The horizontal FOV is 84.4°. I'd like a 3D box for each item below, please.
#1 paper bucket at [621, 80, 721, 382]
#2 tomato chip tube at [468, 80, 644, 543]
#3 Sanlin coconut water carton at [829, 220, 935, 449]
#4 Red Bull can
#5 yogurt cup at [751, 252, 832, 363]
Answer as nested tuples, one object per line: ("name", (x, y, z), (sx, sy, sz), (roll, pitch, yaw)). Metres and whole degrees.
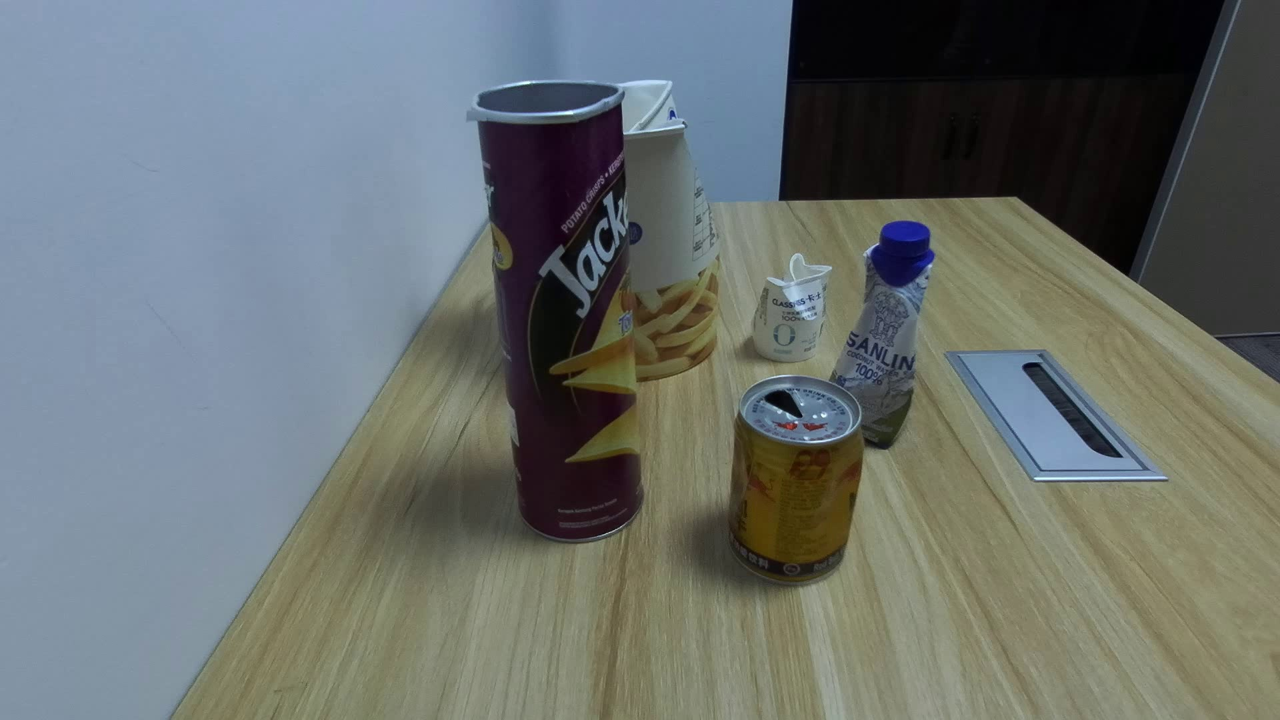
("paper bucket", (-0.006, -0.099, 0.549), (0.169, 0.202, 0.162), (-18, 35, -21))
("tomato chip tube", (-0.038, -0.016, 0.378), (0.076, 0.234, 0.080), (18, 35, 33))
("Sanlin coconut water carton", (0.166, -0.019, 0.461), (0.056, 0.144, 0.069), (23, 29, 25))
("Red Bull can", (0.081, 0.062, 0.371), (0.068, 0.093, 0.068), (-2, 30, 1))
("yogurt cup", (0.120, -0.040, 0.565), (0.055, 0.072, 0.055), (-17, 37, -25))
